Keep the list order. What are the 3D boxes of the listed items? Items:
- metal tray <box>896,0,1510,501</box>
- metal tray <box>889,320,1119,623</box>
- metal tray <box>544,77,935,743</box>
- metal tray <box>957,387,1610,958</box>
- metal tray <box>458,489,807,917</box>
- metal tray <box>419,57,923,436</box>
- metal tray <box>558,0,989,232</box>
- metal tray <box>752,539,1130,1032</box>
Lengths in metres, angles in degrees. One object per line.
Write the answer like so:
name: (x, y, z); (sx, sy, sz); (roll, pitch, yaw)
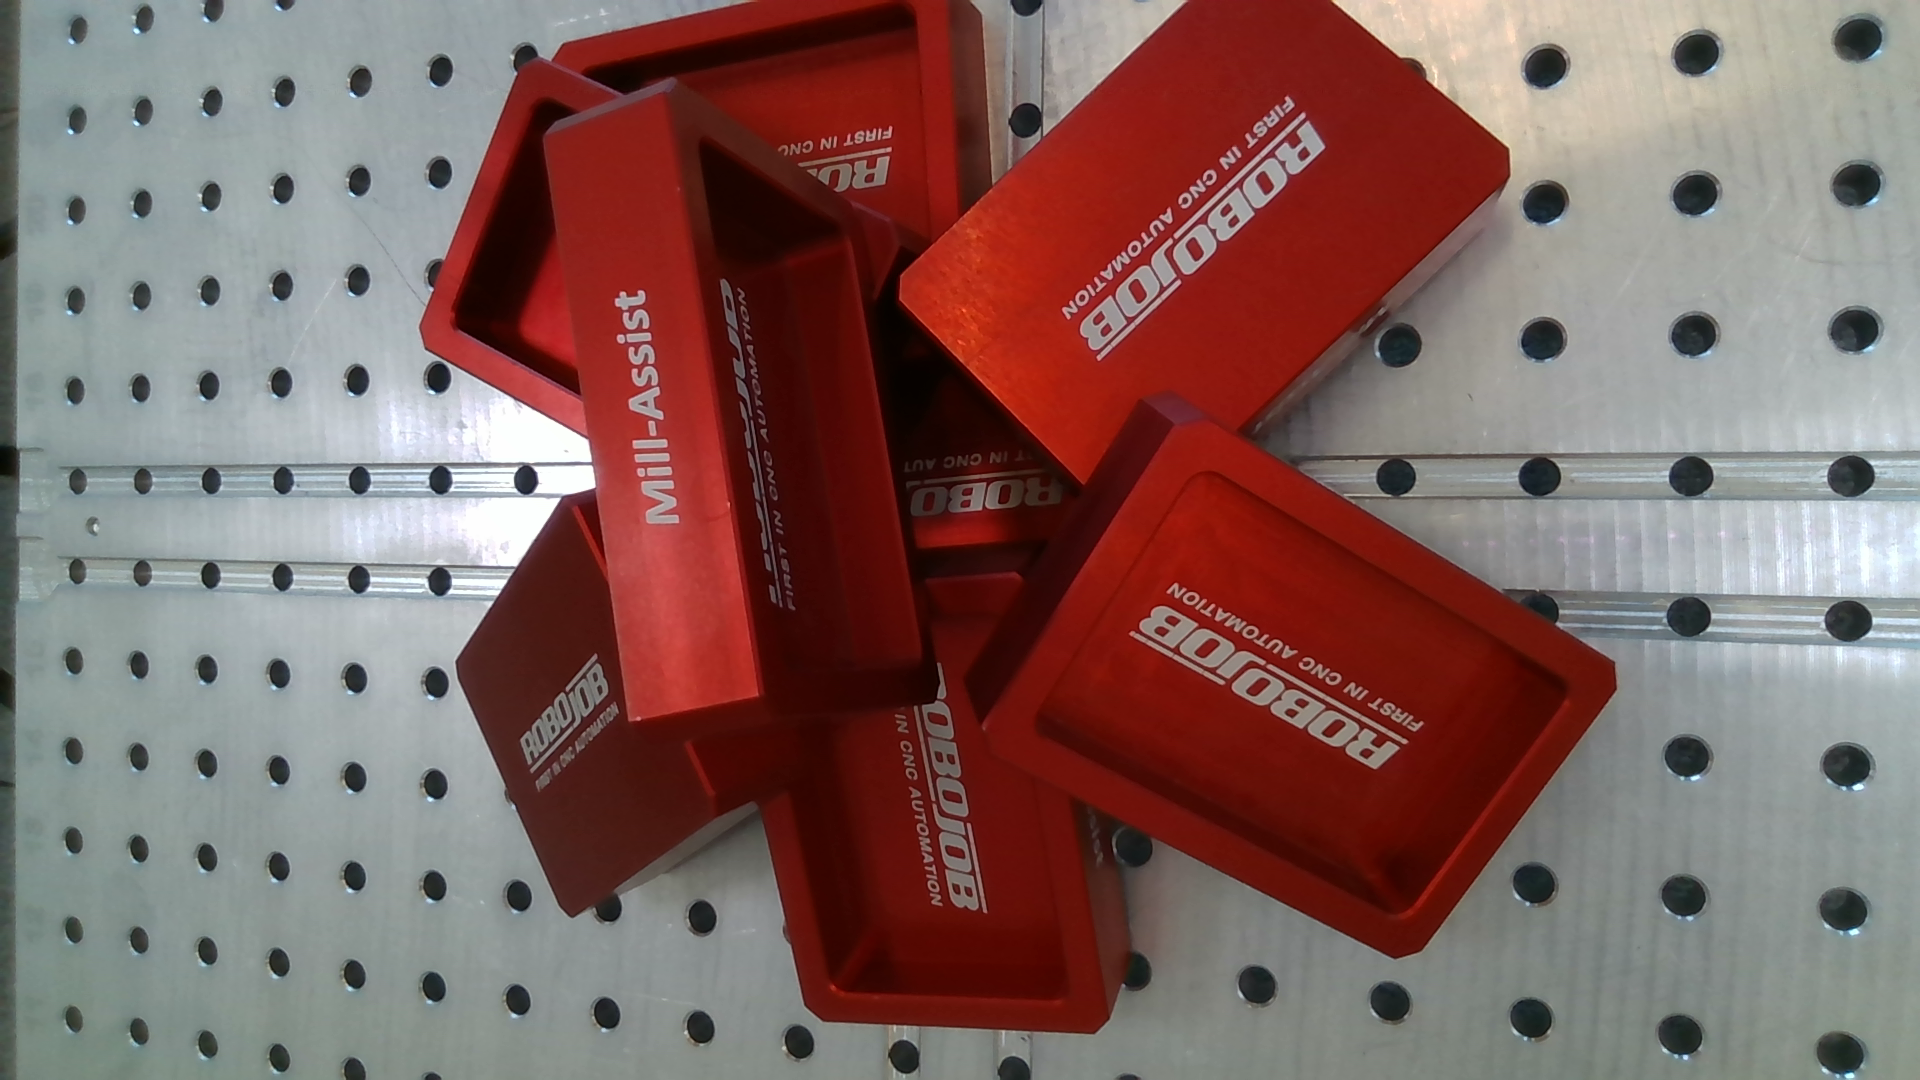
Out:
metal tray: (0.060, -0.075, 0.353); (0.130, 0.030, 0.090); (-43, 76, -1)
metal tray: (-0.007, -0.016, 0.396); (0.130, 0.030, 0.090); (-5, 90, 18)
metal tray: (-0.045, -0.024, 0.309); (0.030, 0.090, 0.130); (-13, 82, 20)
metal tray: (0.077, 0.034, 0.330); (0.130, 0.030, 0.090); (29, 101, -16)
metal tray: (-0.100, 0.049, 0.395); (0.130, 0.030, 0.090); (-39, 75, 50)
metal tray: (-0.082, -0.069, 0.391); (0.130, 0.030, 0.090); (28, 99, 18)
metal tray: (-0.057, -0.111, 0.414); (0.130, 0.030, 0.090); (-5, 89, 19)
metal tray: (-0.009, 0.069, 0.378); (0.090, 0.030, 0.130); (-5, 106, 20)
